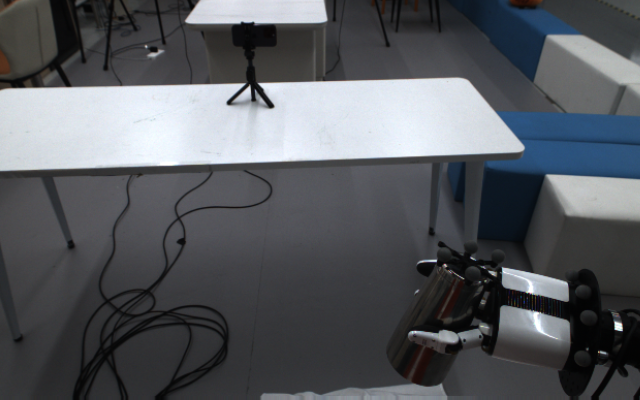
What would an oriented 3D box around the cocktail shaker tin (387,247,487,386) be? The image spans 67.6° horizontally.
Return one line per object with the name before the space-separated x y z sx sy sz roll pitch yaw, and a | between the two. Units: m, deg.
cocktail shaker tin | 0.161 0.152 0.646 0.093 0.170 0.093 12 29 -7
